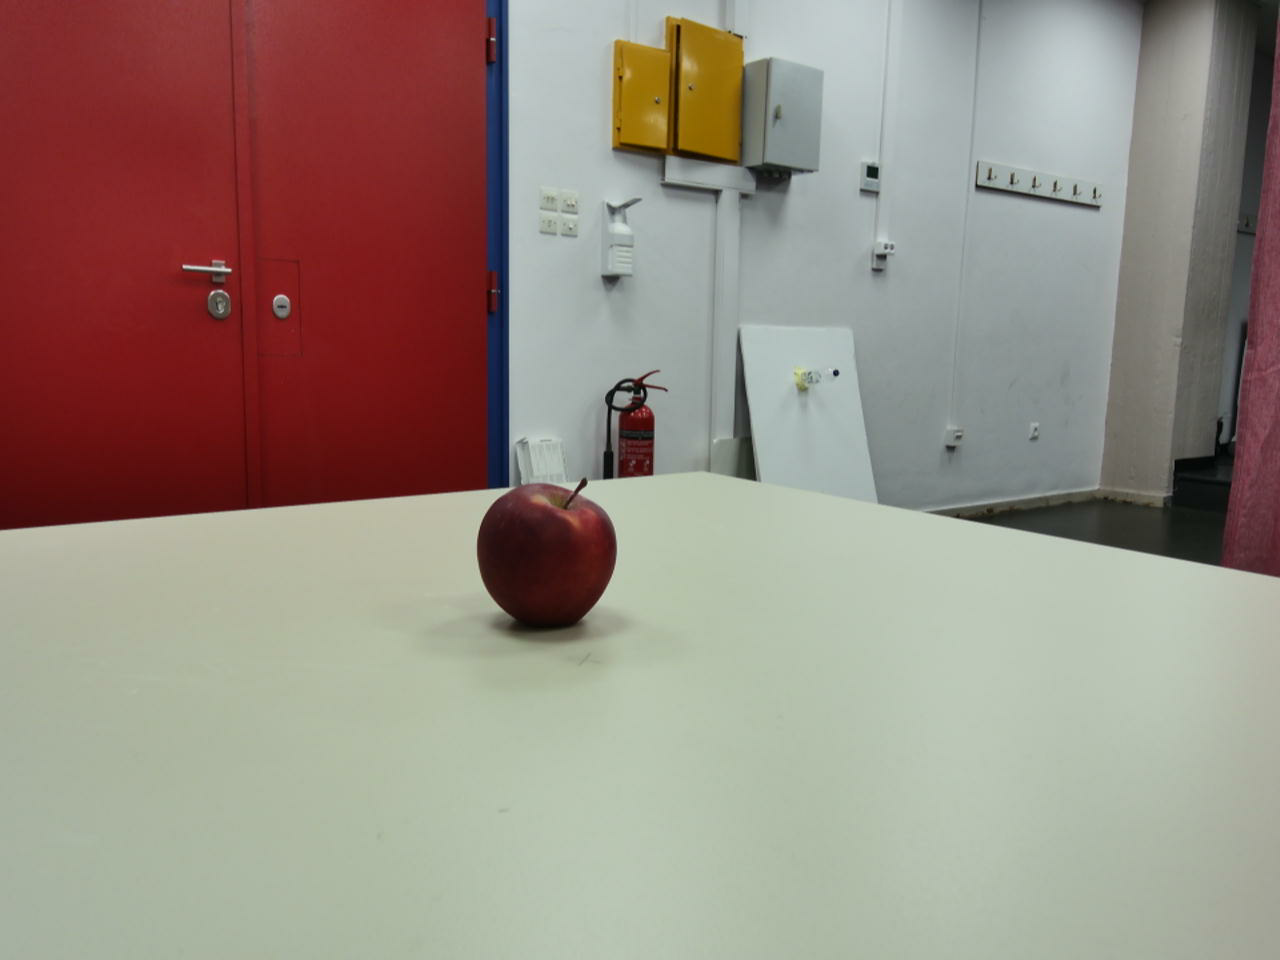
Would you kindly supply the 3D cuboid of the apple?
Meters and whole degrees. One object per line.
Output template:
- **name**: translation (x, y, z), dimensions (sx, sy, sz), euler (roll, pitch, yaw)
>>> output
- **apple**: translation (-0.047, 0.037, 0.503), dimensions (0.070, 0.072, 0.070), euler (0, 7, 0)
